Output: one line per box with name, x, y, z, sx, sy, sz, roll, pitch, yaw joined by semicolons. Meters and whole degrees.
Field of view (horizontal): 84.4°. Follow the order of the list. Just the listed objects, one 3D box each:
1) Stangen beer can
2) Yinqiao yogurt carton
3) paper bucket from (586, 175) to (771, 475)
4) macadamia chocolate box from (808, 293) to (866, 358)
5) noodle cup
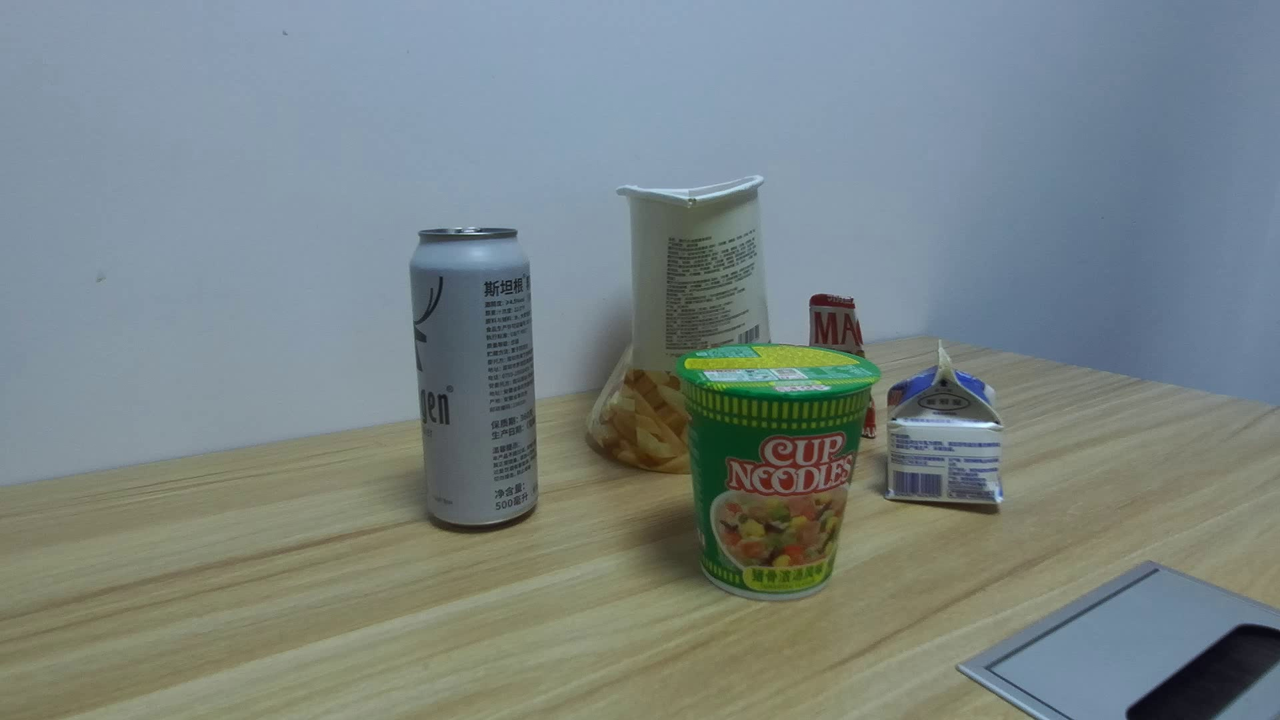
Stangen beer can;-0.095;0.011;0.414;0.067;0.171;0.067;0;12;0
Yinqiao yogurt carton;0.194;0.039;0.455;0.071;0.094;0.077;-1;12;22
paper bucket;0.033;-0.033;0.529;0.148;0.199;0.217;-7;16;-27
macadamia chocolate box;0.170;-0.005;0.597;0.056;0.112;0.126;3;13;14
noodle cup;0.067;0.055;0.354;0.097;0.110;0.097;-1;13;0
